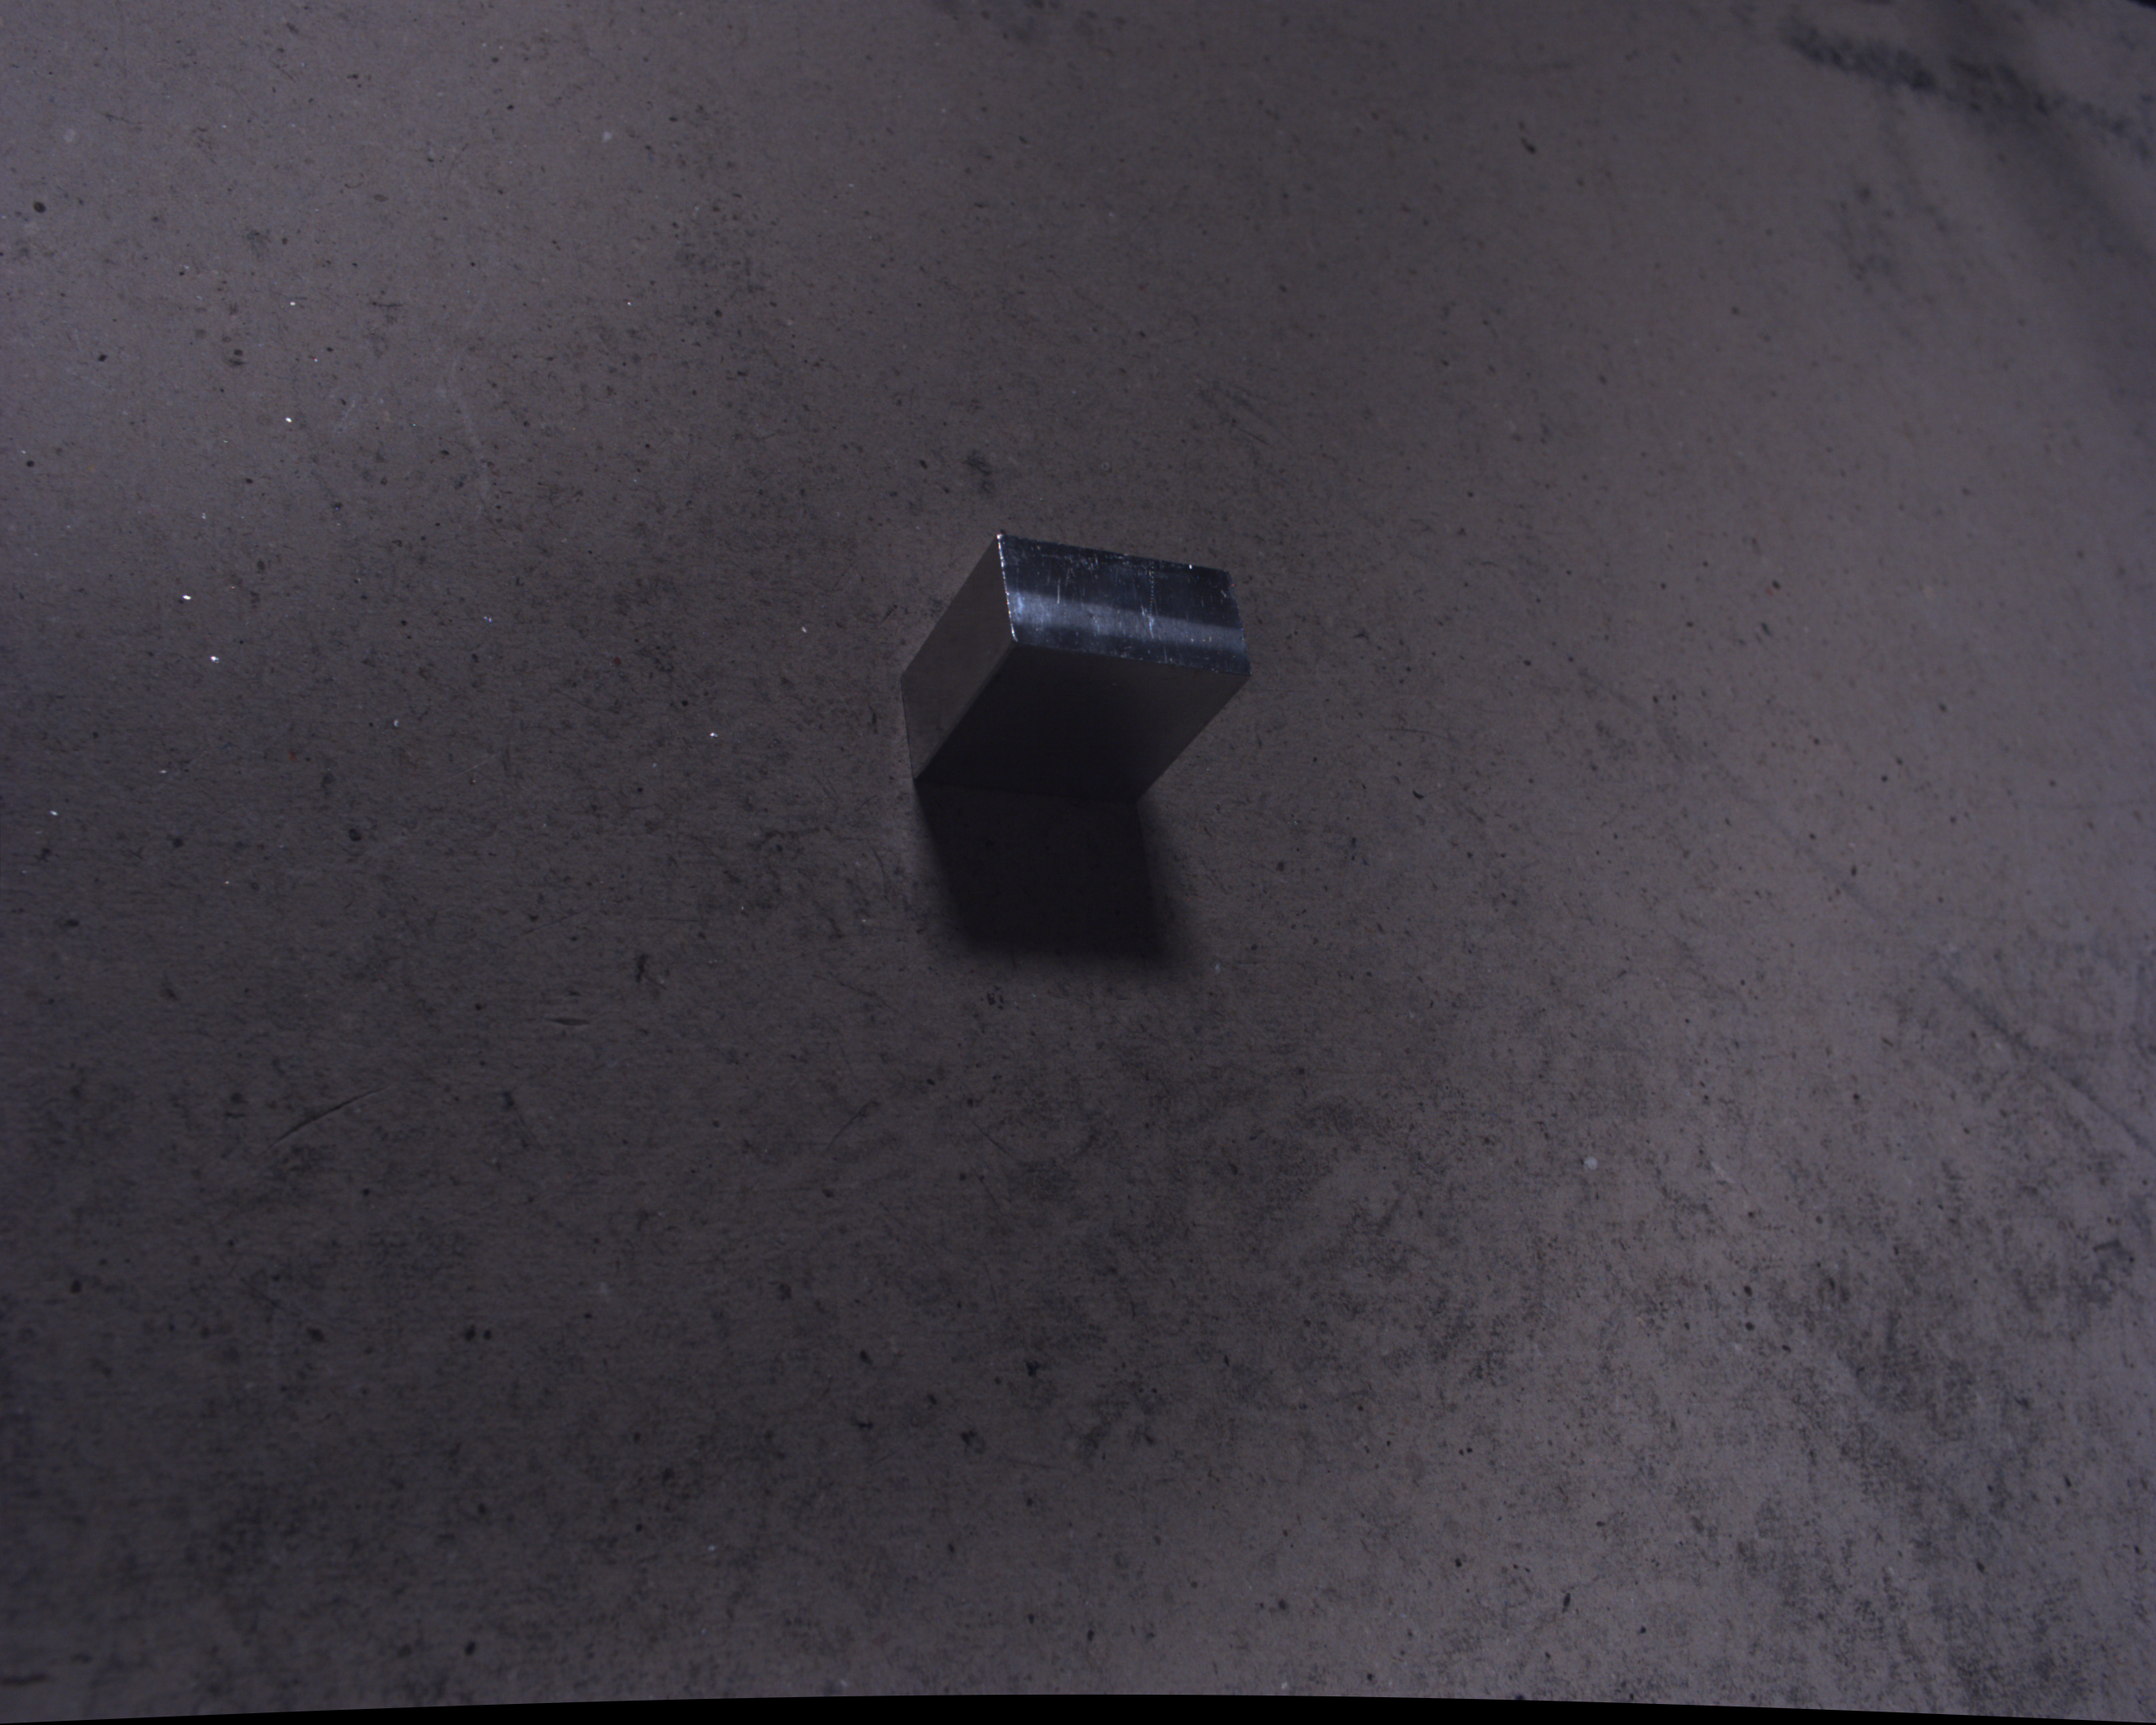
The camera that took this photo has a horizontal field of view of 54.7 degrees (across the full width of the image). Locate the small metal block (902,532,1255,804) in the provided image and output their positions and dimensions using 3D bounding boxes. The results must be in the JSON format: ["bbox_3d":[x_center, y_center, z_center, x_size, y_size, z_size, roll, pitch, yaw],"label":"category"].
[{"bbox_3d":[-0.001,-0.037,0.412,0.050,0.050,0.025,5,60,-26],"label":"small metal block"}]
